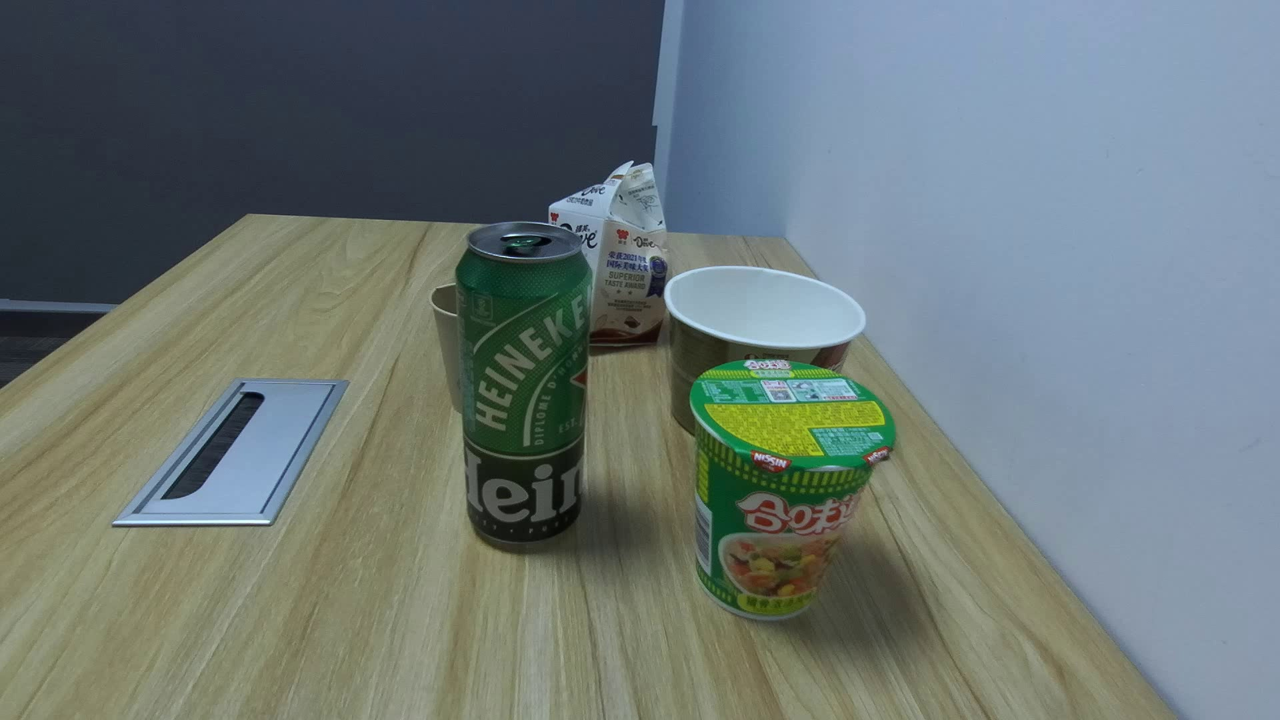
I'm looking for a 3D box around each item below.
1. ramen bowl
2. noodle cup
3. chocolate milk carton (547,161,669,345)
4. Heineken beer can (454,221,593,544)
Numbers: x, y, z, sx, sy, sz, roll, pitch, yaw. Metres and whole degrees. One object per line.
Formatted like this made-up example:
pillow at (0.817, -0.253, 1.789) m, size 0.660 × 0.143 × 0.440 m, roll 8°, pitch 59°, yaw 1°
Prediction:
ramen bowl at (0.082, -0.001, 0.511) m, size 0.140 × 0.095 × 0.140 m, roll 3°, pitch 28°, yaw -2°
noodle cup at (0.068, 0.070, 0.361) m, size 0.097 × 0.110 × 0.097 m, roll 5°, pitch 29°, yaw -2°
chocolate milk carton at (-0.027, -0.091, 0.612) m, size 0.077 × 0.155 × 0.089 m, roll -9°, pitch 16°, yaw -33°
Heineken beer can at (-0.061, 0.017, 0.378) m, size 0.067 × 0.169 × 0.067 m, roll 4°, pitch 27°, yaw -2°
